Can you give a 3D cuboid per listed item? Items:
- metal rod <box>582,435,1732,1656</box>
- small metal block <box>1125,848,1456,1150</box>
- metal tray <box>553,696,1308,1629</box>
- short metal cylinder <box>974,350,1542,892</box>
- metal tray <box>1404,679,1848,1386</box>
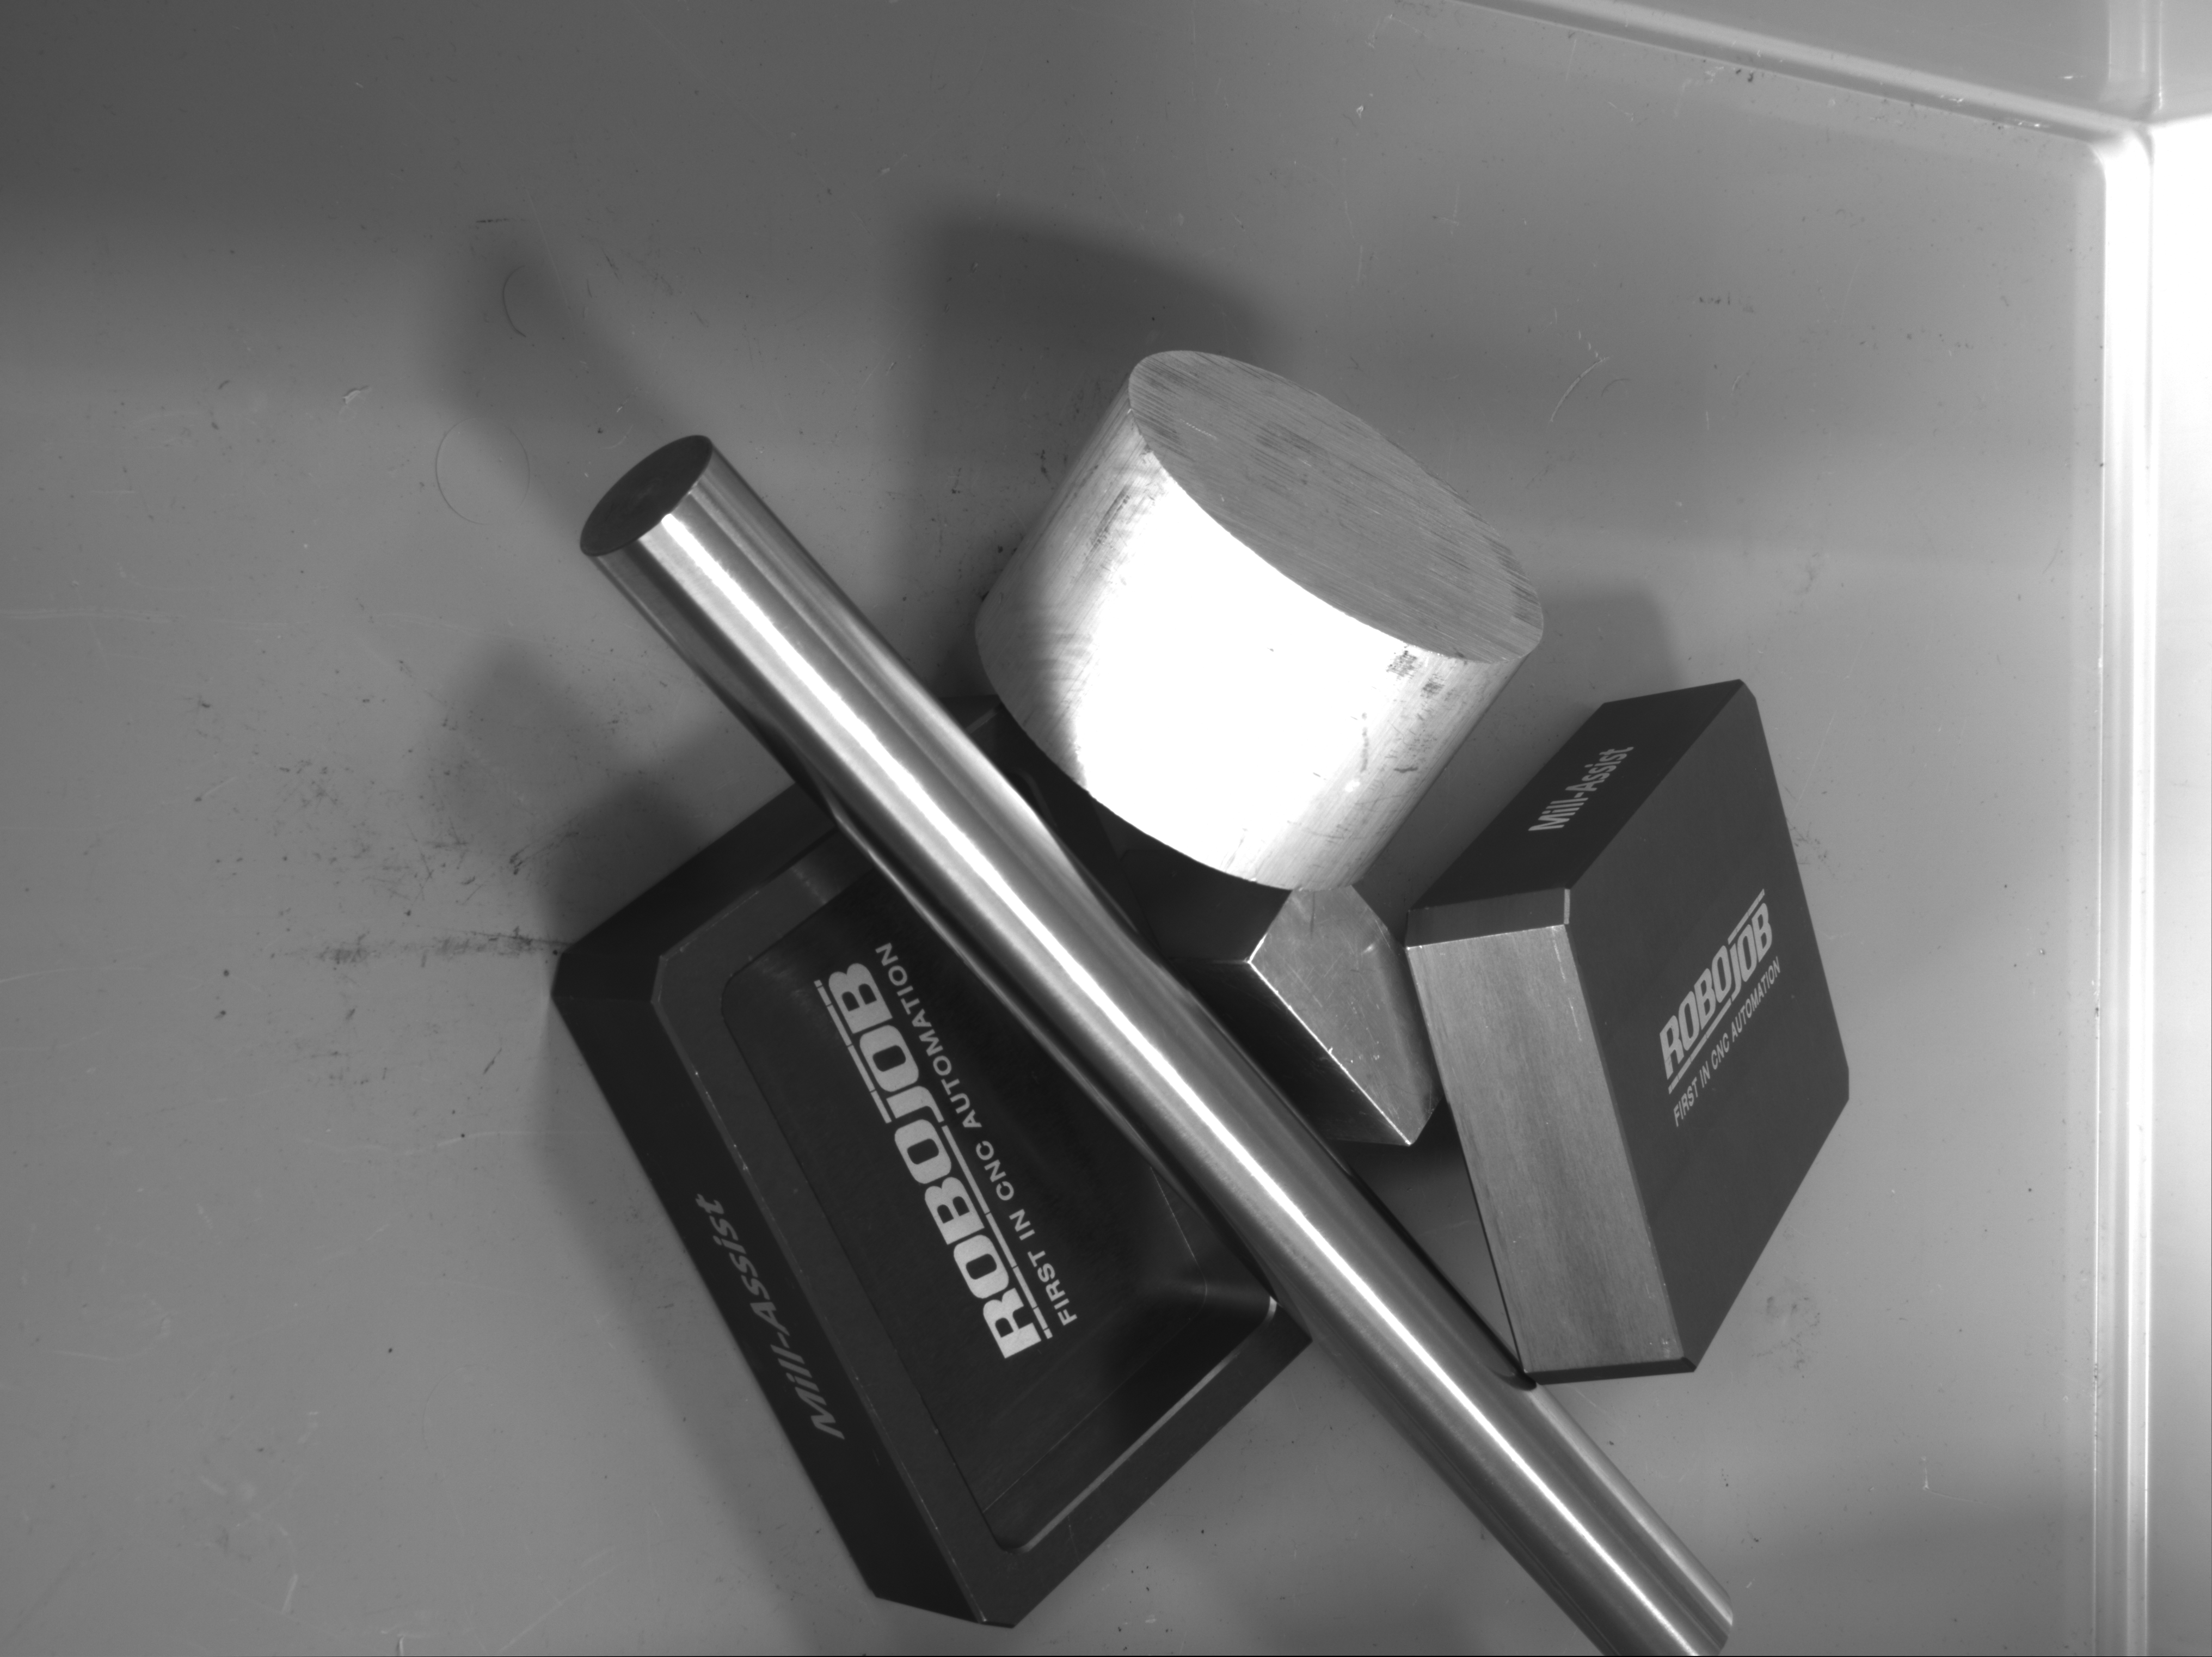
[{"bbox_3d":[0.019,0.050,0.612,0.301,0.025,0.025,49,61,-29],"label":"metal rod"},{"bbox_3d":[0.029,0.029,0.641,0.050,0.050,0.025,48,62,-29],"label":"small metal block"},{"bbox_3d":[-0.024,0.055,0.611,0.090,0.030,0.130,-39,113,-33],"label":"metal tray"},{"bbox_3d":[0.025,-0.035,0.612,0.080,0.080,0.050,11,125,-39],"label":"short metal cylinder"},{"bbox_3d":[0.100,0.034,0.681,0.130,0.030,0.090,-40,117,-59],"label":"metal tray"}]
